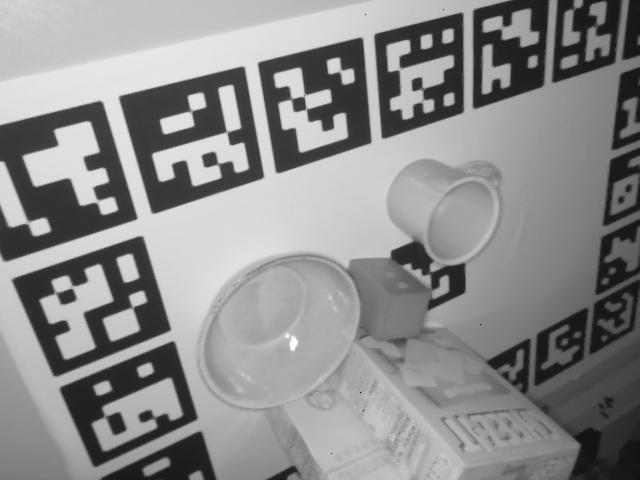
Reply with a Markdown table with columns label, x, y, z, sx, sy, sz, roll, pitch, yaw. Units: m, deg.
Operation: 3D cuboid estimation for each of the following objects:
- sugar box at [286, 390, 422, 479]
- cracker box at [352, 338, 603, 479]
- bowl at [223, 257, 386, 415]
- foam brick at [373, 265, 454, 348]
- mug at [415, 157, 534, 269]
| label | x | y | z | sx | sy | sz | roll | pitch | yaw |
| --- | --- | --- | --- | --- | --- | --- | --- | --- | --- |
| sugar box | 0.044 | 0.217 | 0.684 | 0.094 | 0.175 | 0.045 | 1 | 112 | -30 |
| cracker box | 0.149 | 0.177 | 0.704 | 0.166 | 0.212 | 0.071 | 11 | 110 | -32 |
| bowl | -0.021 | 0.080 | 0.645 | 0.164 | 0.055 | 0.160 | -12 | 117 | -24 |
| foam brick | 0.091 | 0.067 | 0.707 | 0.053 | 0.077 | 0.051 | -5 | 116 | -28 |
| mug | 0.157 | -0.035 | 0.684 | 0.118 | 0.081 | 0.093 | -28 | 132 | -17 |
